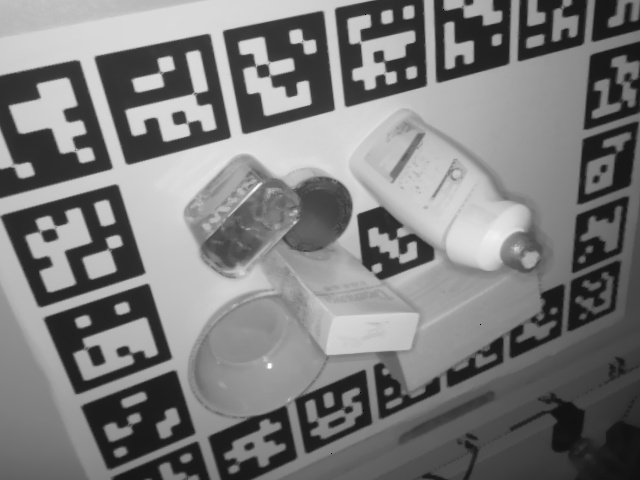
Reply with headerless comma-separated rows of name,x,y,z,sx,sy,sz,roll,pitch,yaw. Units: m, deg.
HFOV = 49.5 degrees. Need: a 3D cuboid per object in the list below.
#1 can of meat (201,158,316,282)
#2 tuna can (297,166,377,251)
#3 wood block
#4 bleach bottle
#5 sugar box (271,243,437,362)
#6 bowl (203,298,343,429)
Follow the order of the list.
can of meat,-0.061,-0.023,0.672,0.102,0.083,0.058,-43,127,1
tuna can,0.014,-0.034,0.725,0.087,0.033,0.085,-10,114,-21
wood block,0.192,0.091,0.845,0.208,0.089,0.090,-26,118,-11
bleach bottle,0.142,-0.041,0.658,0.103,0.249,0.068,-40,125,-3
sugar box,0.028,0.055,0.690,0.094,0.175,0.045,1,112,-29
bowl,-0.057,0.123,0.757,0.164,0.055,0.160,-13,119,-24
